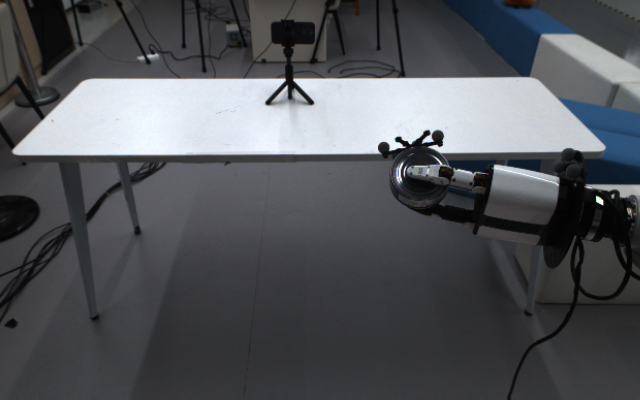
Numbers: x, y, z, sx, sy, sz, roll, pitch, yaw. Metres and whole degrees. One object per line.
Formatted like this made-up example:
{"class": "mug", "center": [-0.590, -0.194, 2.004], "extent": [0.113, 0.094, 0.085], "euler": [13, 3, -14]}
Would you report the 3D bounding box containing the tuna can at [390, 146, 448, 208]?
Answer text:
{"class": "tuna can", "center": [0.144, -0.035, 0.689], "extent": [0.085, 0.034, 0.085], "euler": [-4, 68, 9]}
